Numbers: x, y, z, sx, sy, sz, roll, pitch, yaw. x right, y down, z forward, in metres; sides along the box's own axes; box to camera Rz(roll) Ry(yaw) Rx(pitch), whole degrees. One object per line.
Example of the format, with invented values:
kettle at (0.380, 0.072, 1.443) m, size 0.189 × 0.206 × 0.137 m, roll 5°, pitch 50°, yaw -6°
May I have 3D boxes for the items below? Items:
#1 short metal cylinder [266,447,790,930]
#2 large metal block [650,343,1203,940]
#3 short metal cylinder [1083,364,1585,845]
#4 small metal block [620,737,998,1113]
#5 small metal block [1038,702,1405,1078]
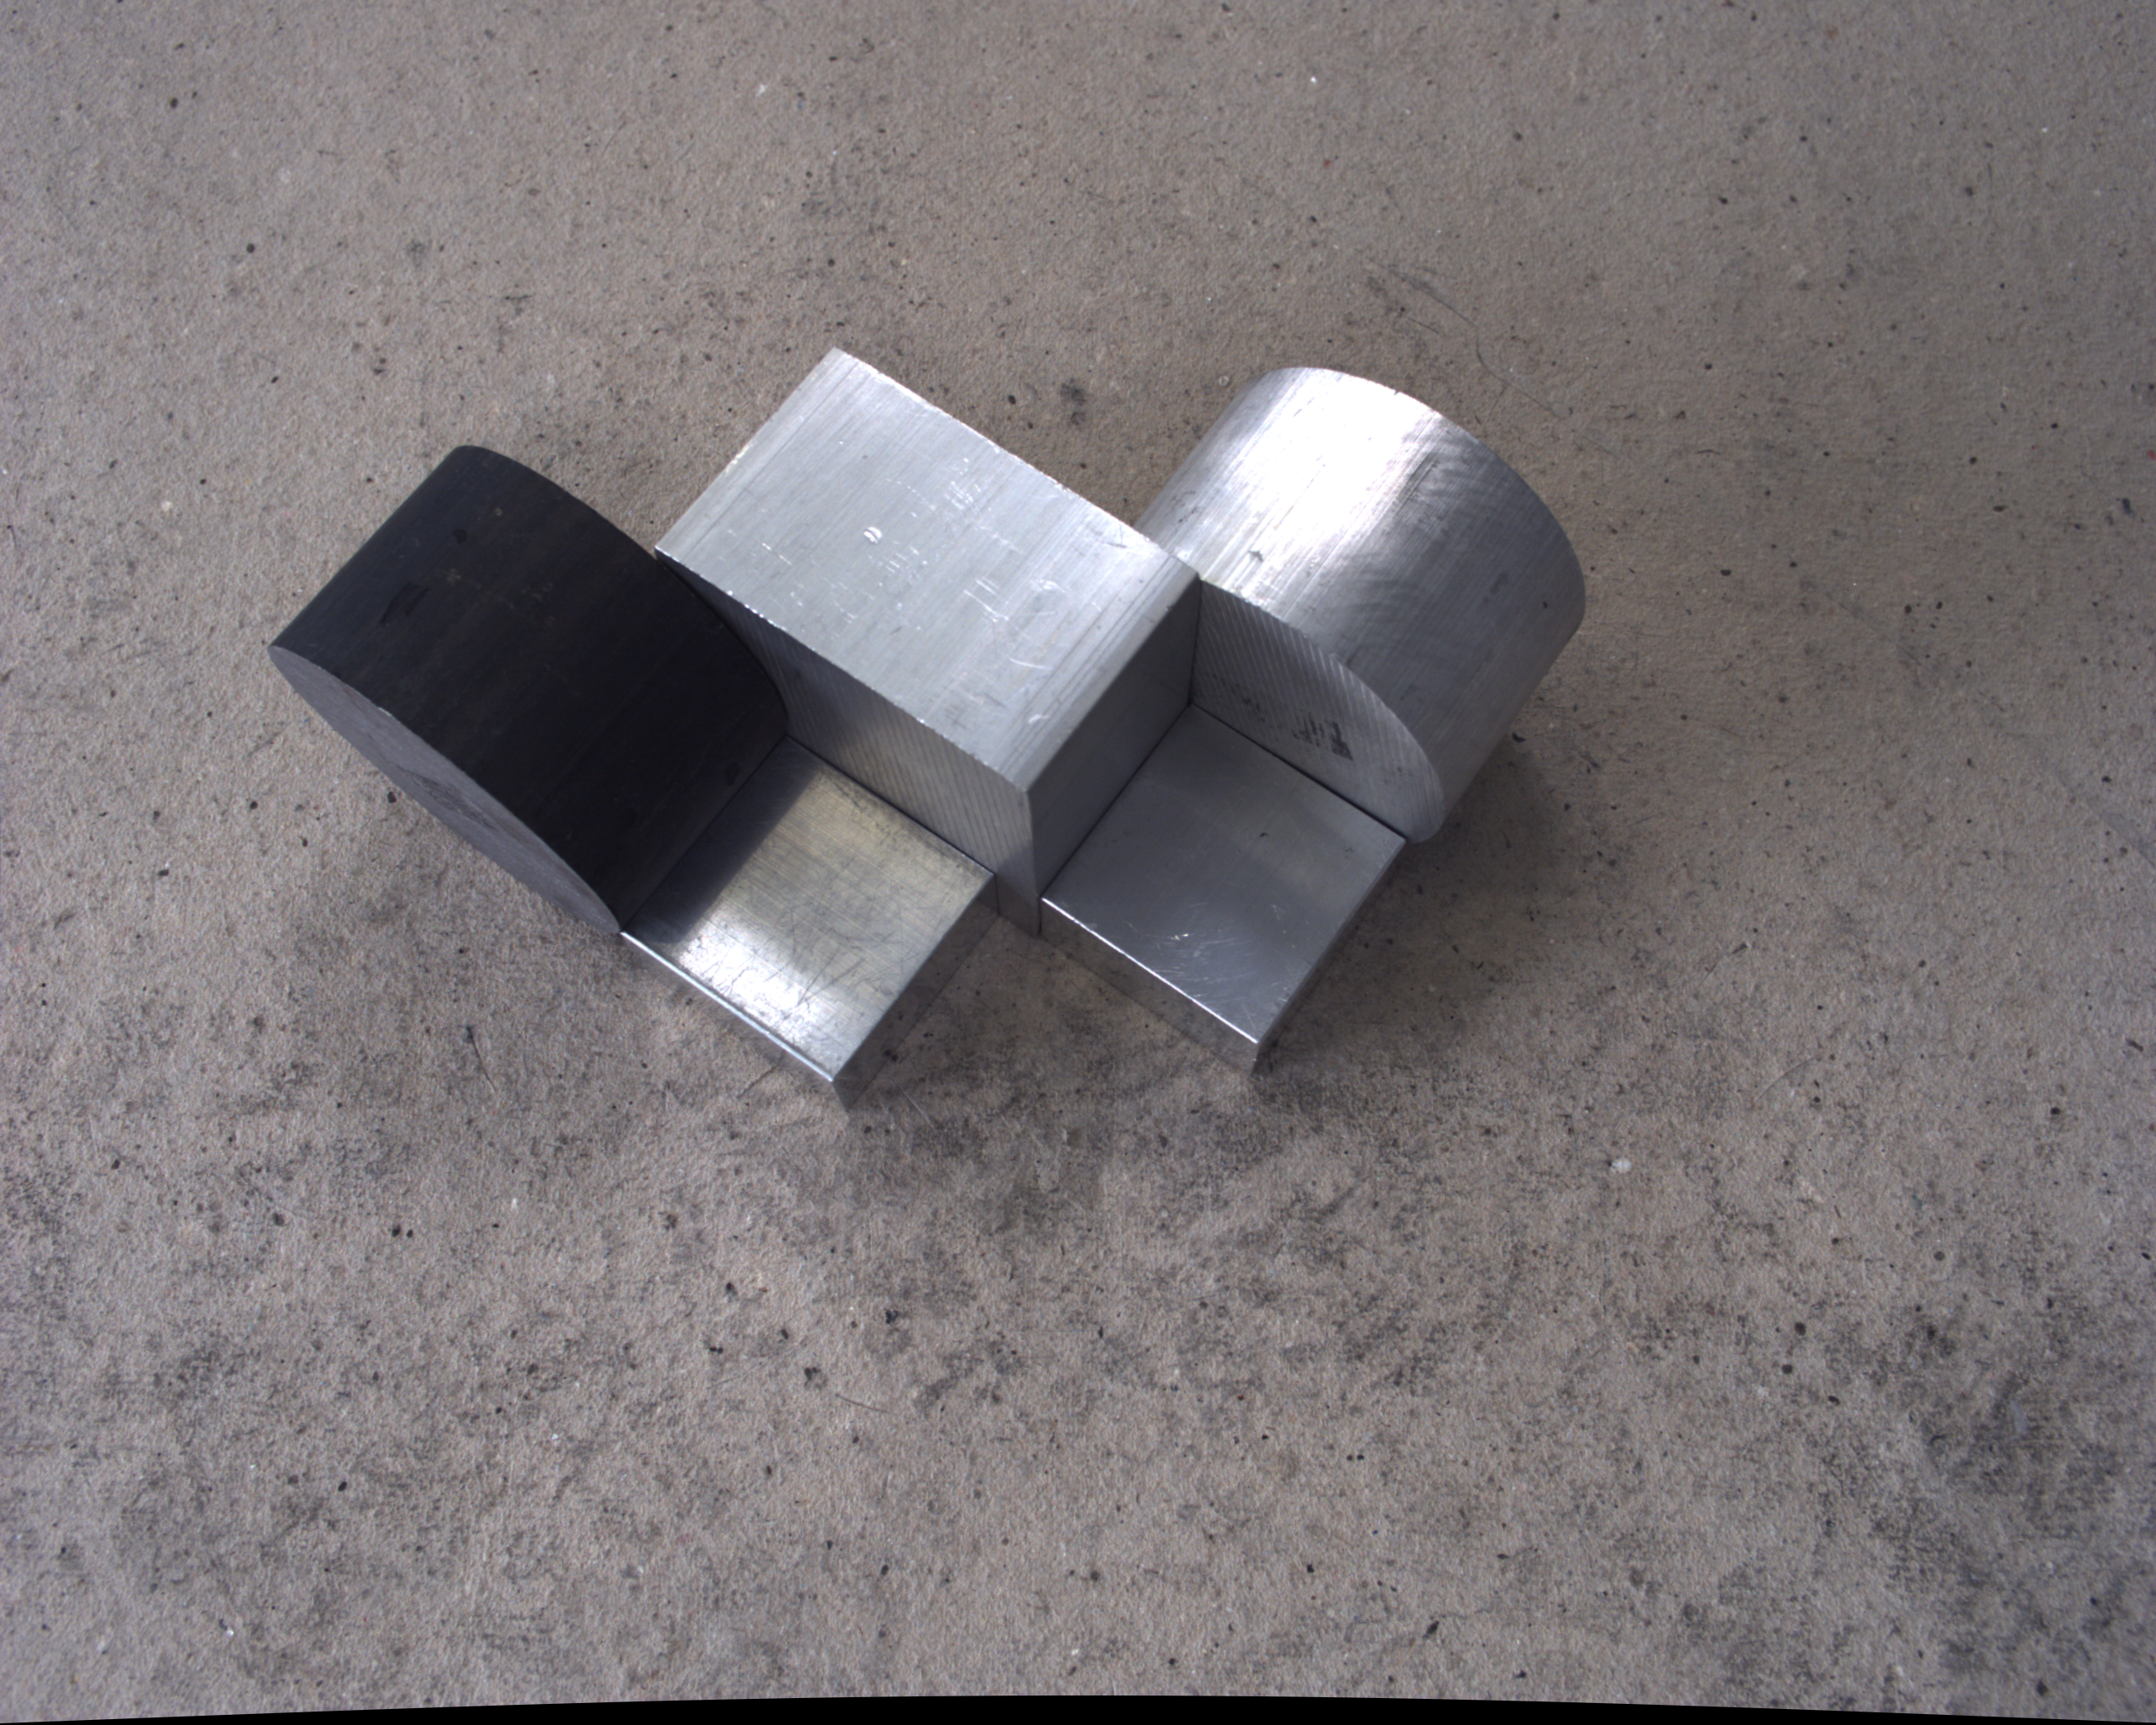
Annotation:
short metal cylinder at (-0.102, -0.031, 0.391) m, size 0.080 × 0.080 × 0.050 m, roll 33°, pitch 74°, yaw 11°
large metal block at (-0.026, -0.039, 0.395) m, size 0.080 × 0.080 × 0.050 m, roll 33°, pitch 73°, yaw 11°
short metal cylinder at (0.048, -0.048, 0.398) m, size 0.080 × 0.080 × 0.050 m, roll 34°, pitch 74°, yaw 11°
small metal block at (-0.051, 0.012, 0.405) m, size 0.050 × 0.025 × 0.050 m, roll 34°, pitch 73°, yaw 11°
small metal block at (0.027, 0.005, 0.408) m, size 0.050 × 0.025 × 0.050 m, roll 34°, pitch 73°, yaw 11°
